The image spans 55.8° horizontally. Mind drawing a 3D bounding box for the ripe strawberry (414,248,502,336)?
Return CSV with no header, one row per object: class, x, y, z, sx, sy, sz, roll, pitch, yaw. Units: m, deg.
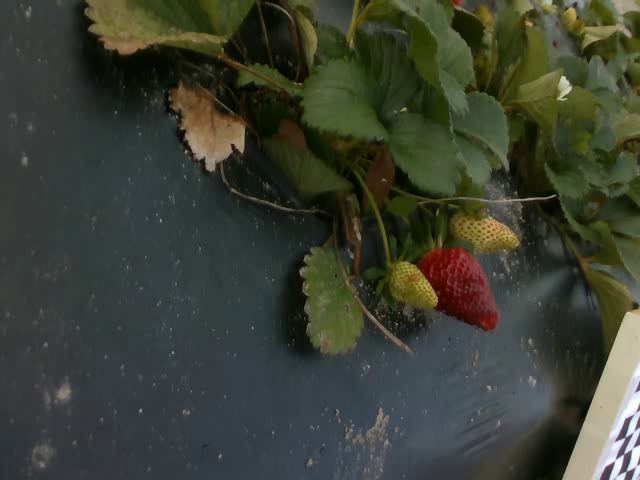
ripe strawberry,0.078,0.031,0.328,0.046,0.045,0.059,-3,42,-42
